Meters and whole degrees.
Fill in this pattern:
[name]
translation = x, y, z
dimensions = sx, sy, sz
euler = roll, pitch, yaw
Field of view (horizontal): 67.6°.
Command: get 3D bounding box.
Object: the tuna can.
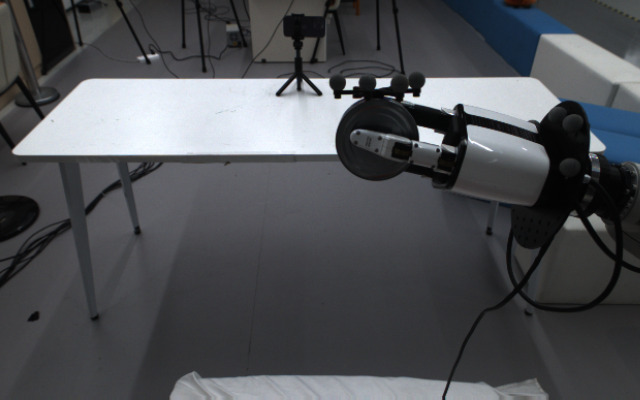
[tuna can]
translation = 0.061, -0.067, 0.513
dimensions = 0.085, 0.085, 0.034
euler = 4, 18, 3
